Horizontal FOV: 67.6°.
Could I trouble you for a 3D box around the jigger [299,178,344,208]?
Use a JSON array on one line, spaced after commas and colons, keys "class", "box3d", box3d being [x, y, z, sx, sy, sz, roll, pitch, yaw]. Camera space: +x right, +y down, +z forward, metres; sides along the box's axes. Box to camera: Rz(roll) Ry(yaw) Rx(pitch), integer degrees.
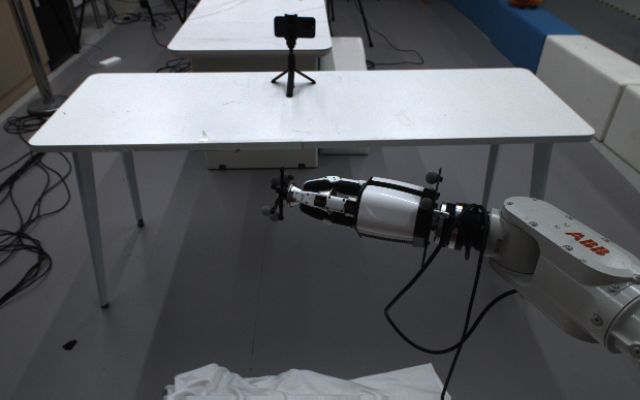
[{"class": "jigger", "box3d": [-0.007, -0.008, 0.756, 0.071, 0.043, 0.043, 8, 35, 16]}]
